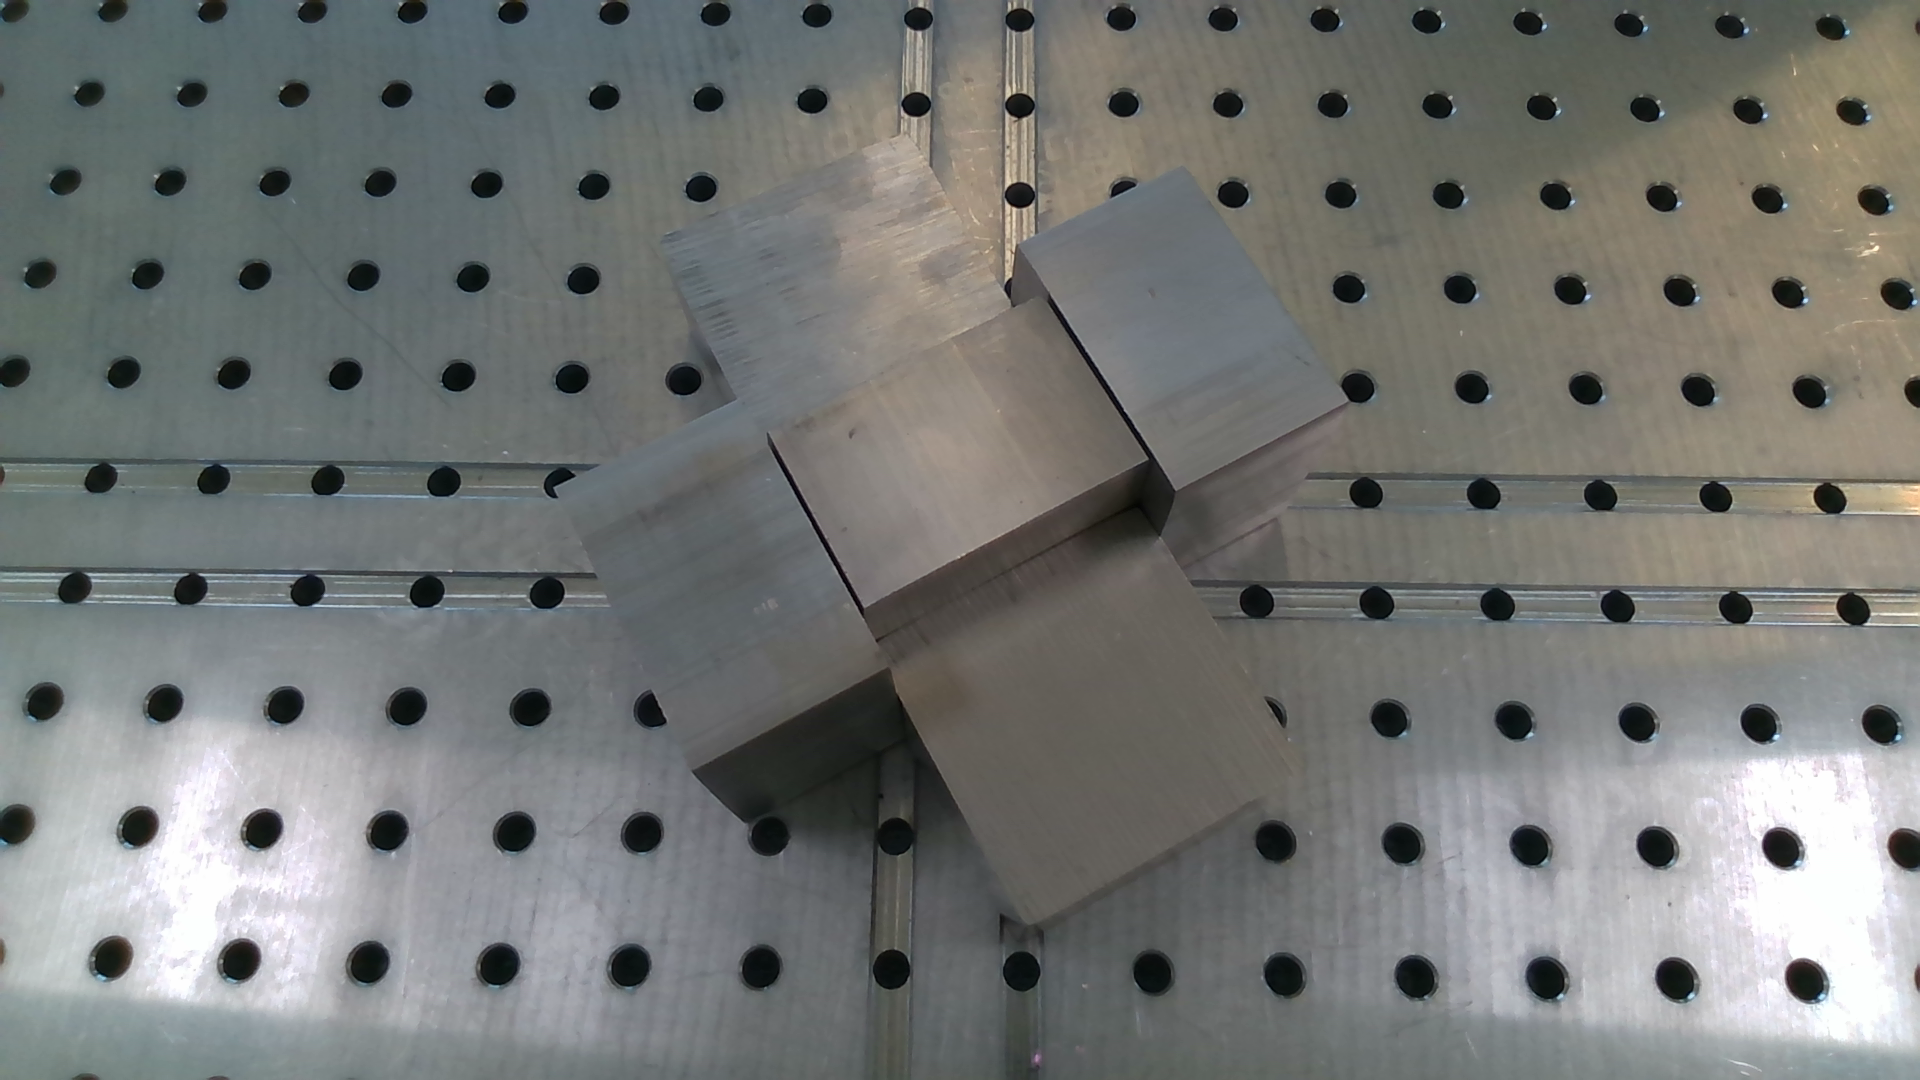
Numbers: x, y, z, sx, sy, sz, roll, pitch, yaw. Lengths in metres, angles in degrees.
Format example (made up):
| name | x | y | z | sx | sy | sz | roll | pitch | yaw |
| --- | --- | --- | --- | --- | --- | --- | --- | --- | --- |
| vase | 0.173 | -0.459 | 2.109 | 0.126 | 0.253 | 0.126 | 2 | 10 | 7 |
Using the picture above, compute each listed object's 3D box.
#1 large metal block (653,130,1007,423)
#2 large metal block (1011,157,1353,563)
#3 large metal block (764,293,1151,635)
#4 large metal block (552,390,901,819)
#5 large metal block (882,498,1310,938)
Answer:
| name | x | y | z | sx | sy | sz | roll | pitch | yaw |
| --- | --- | --- | --- | --- | --- | --- | --- | --- | --- |
| large metal block | -0.033 | -0.061 | 0.407 | 0.080 | 0.050 | 0.080 | -25 | 72 | -9 |
| large metal block | 0.055 | -0.043 | 0.383 | 0.050 | 0.080 | 0.080 | -27 | 72 | -10 |
| large metal block | -0.001 | -0.010 | 0.372 | 0.080 | 0.080 | 0.050 | -27 | 72 | -9 |
| large metal block | -0.057 | 0.021 | 0.361 | 0.050 | 0.080 | 0.080 | -27 | 73 | -9 |
| large metal block | 0.032 | 0.049 | 0.367 | 0.080 | 0.050 | 0.080 | -28 | 73 | -7 |
